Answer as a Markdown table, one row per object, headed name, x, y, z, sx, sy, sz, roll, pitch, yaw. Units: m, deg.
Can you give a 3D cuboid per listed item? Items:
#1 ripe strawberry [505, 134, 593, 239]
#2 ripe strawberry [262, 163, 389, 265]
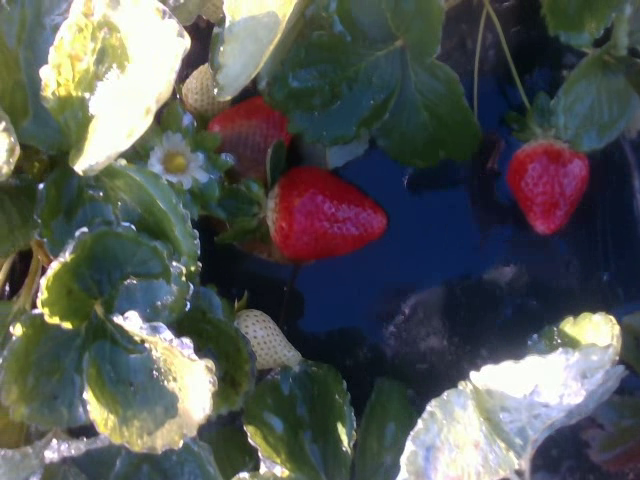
| name | x | y | z | sx | sy | sz | roll | pitch | yaw |
| --- | --- | --- | --- | --- | --- | --- | --- | --- | --- |
| ripe strawberry | 0.099 | -0.022 | 0.260 | 0.039 | 0.047 | 0.040 | 0 | 5 | -7 |
| ripe strawberry | 0.006 | -0.007 | 0.268 | 0.056 | 0.044 | 0.040 | 11 | 15 | -10 |
